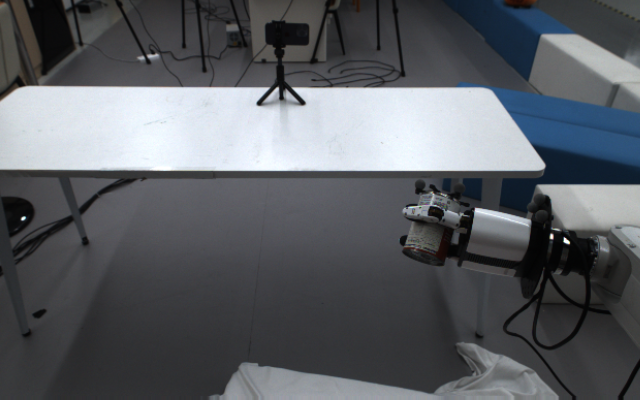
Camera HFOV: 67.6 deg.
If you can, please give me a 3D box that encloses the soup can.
[{"bbox_3d":[0.179,0.045,0.767,0.067,0.067,0.101,15,75,18],"label":"soup can"}]
